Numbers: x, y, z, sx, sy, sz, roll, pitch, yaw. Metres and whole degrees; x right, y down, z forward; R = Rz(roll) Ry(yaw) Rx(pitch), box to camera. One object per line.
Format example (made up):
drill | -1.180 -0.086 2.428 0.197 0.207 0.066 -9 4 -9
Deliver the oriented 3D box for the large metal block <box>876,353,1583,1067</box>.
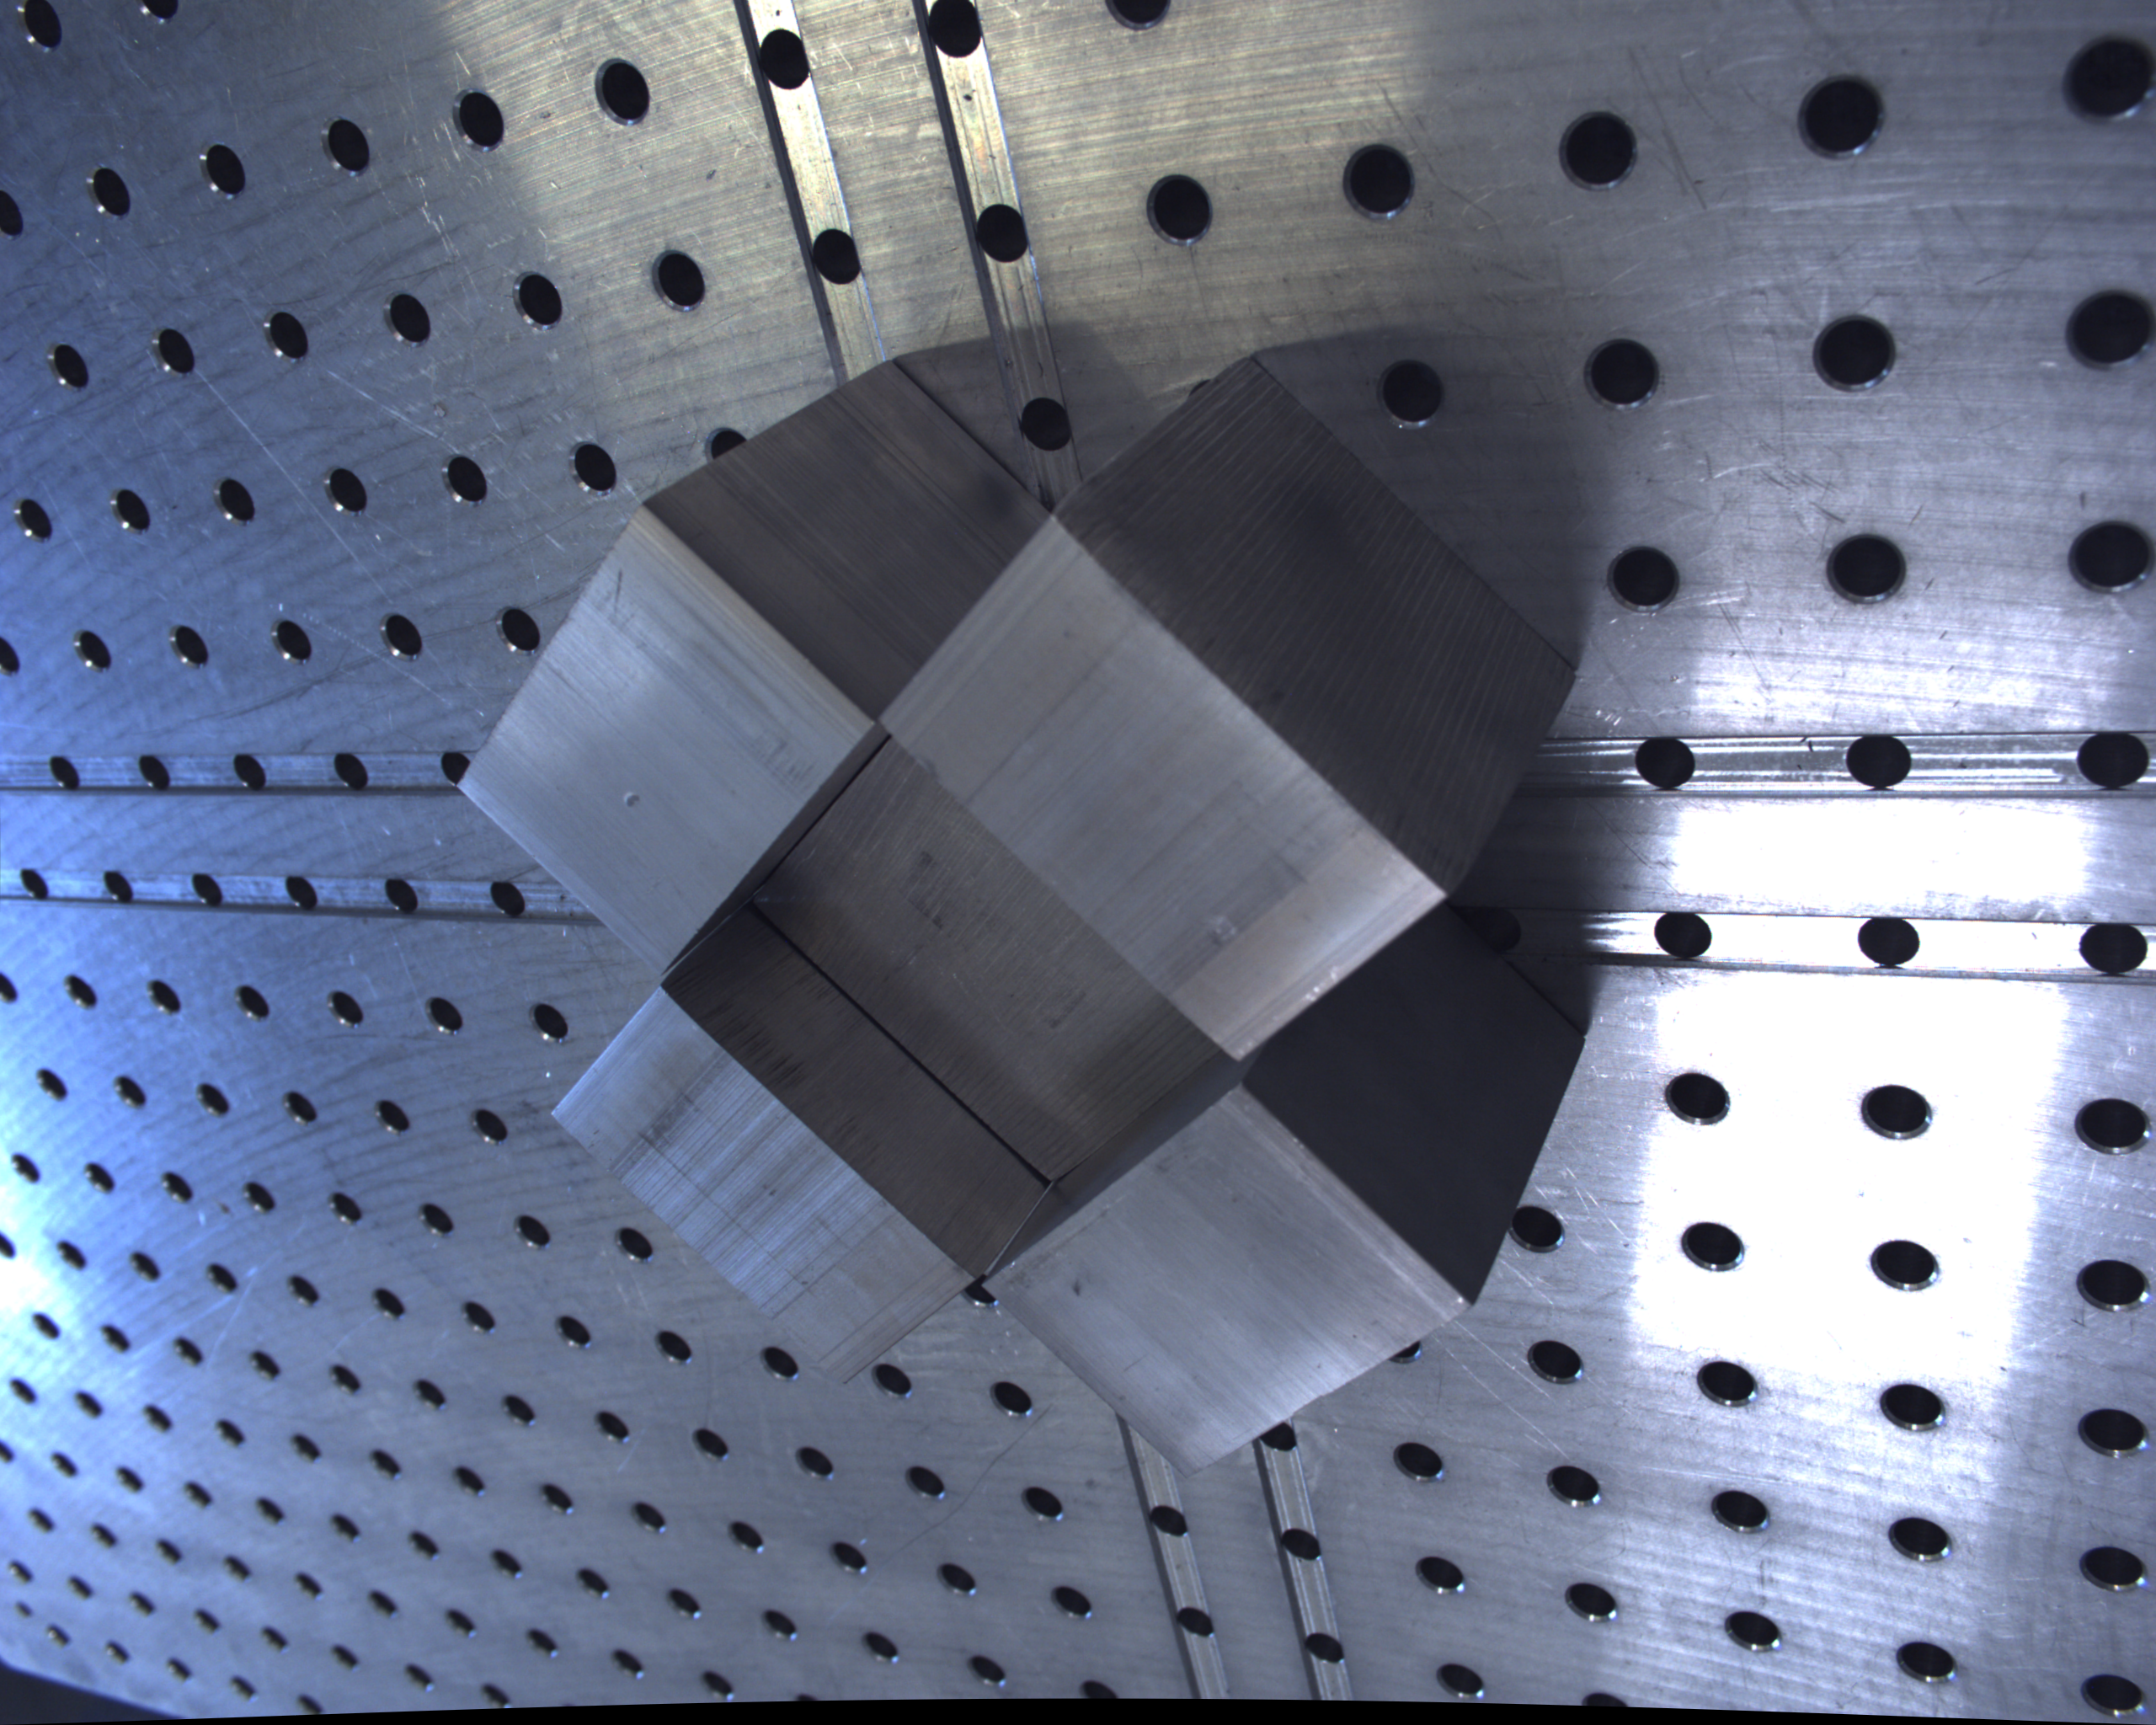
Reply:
large metal block | 0.028 -0.028 0.344 0.080 0.080 0.050 43 129 -2

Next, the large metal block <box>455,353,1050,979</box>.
large metal block | -0.055 -0.037 0.383 0.050 0.080 0.080 44 129 -2

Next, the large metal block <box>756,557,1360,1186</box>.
large metal block | -0.001 0.002 0.396 0.080 0.050 0.080 45 131 -1

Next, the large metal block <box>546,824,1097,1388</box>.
large metal block | -0.045 0.044 0.427 0.080 0.080 0.050 43 129 -2

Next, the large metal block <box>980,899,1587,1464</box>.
large metal block | 0.039 0.053 0.390 0.050 0.080 0.080 45 129 -3
